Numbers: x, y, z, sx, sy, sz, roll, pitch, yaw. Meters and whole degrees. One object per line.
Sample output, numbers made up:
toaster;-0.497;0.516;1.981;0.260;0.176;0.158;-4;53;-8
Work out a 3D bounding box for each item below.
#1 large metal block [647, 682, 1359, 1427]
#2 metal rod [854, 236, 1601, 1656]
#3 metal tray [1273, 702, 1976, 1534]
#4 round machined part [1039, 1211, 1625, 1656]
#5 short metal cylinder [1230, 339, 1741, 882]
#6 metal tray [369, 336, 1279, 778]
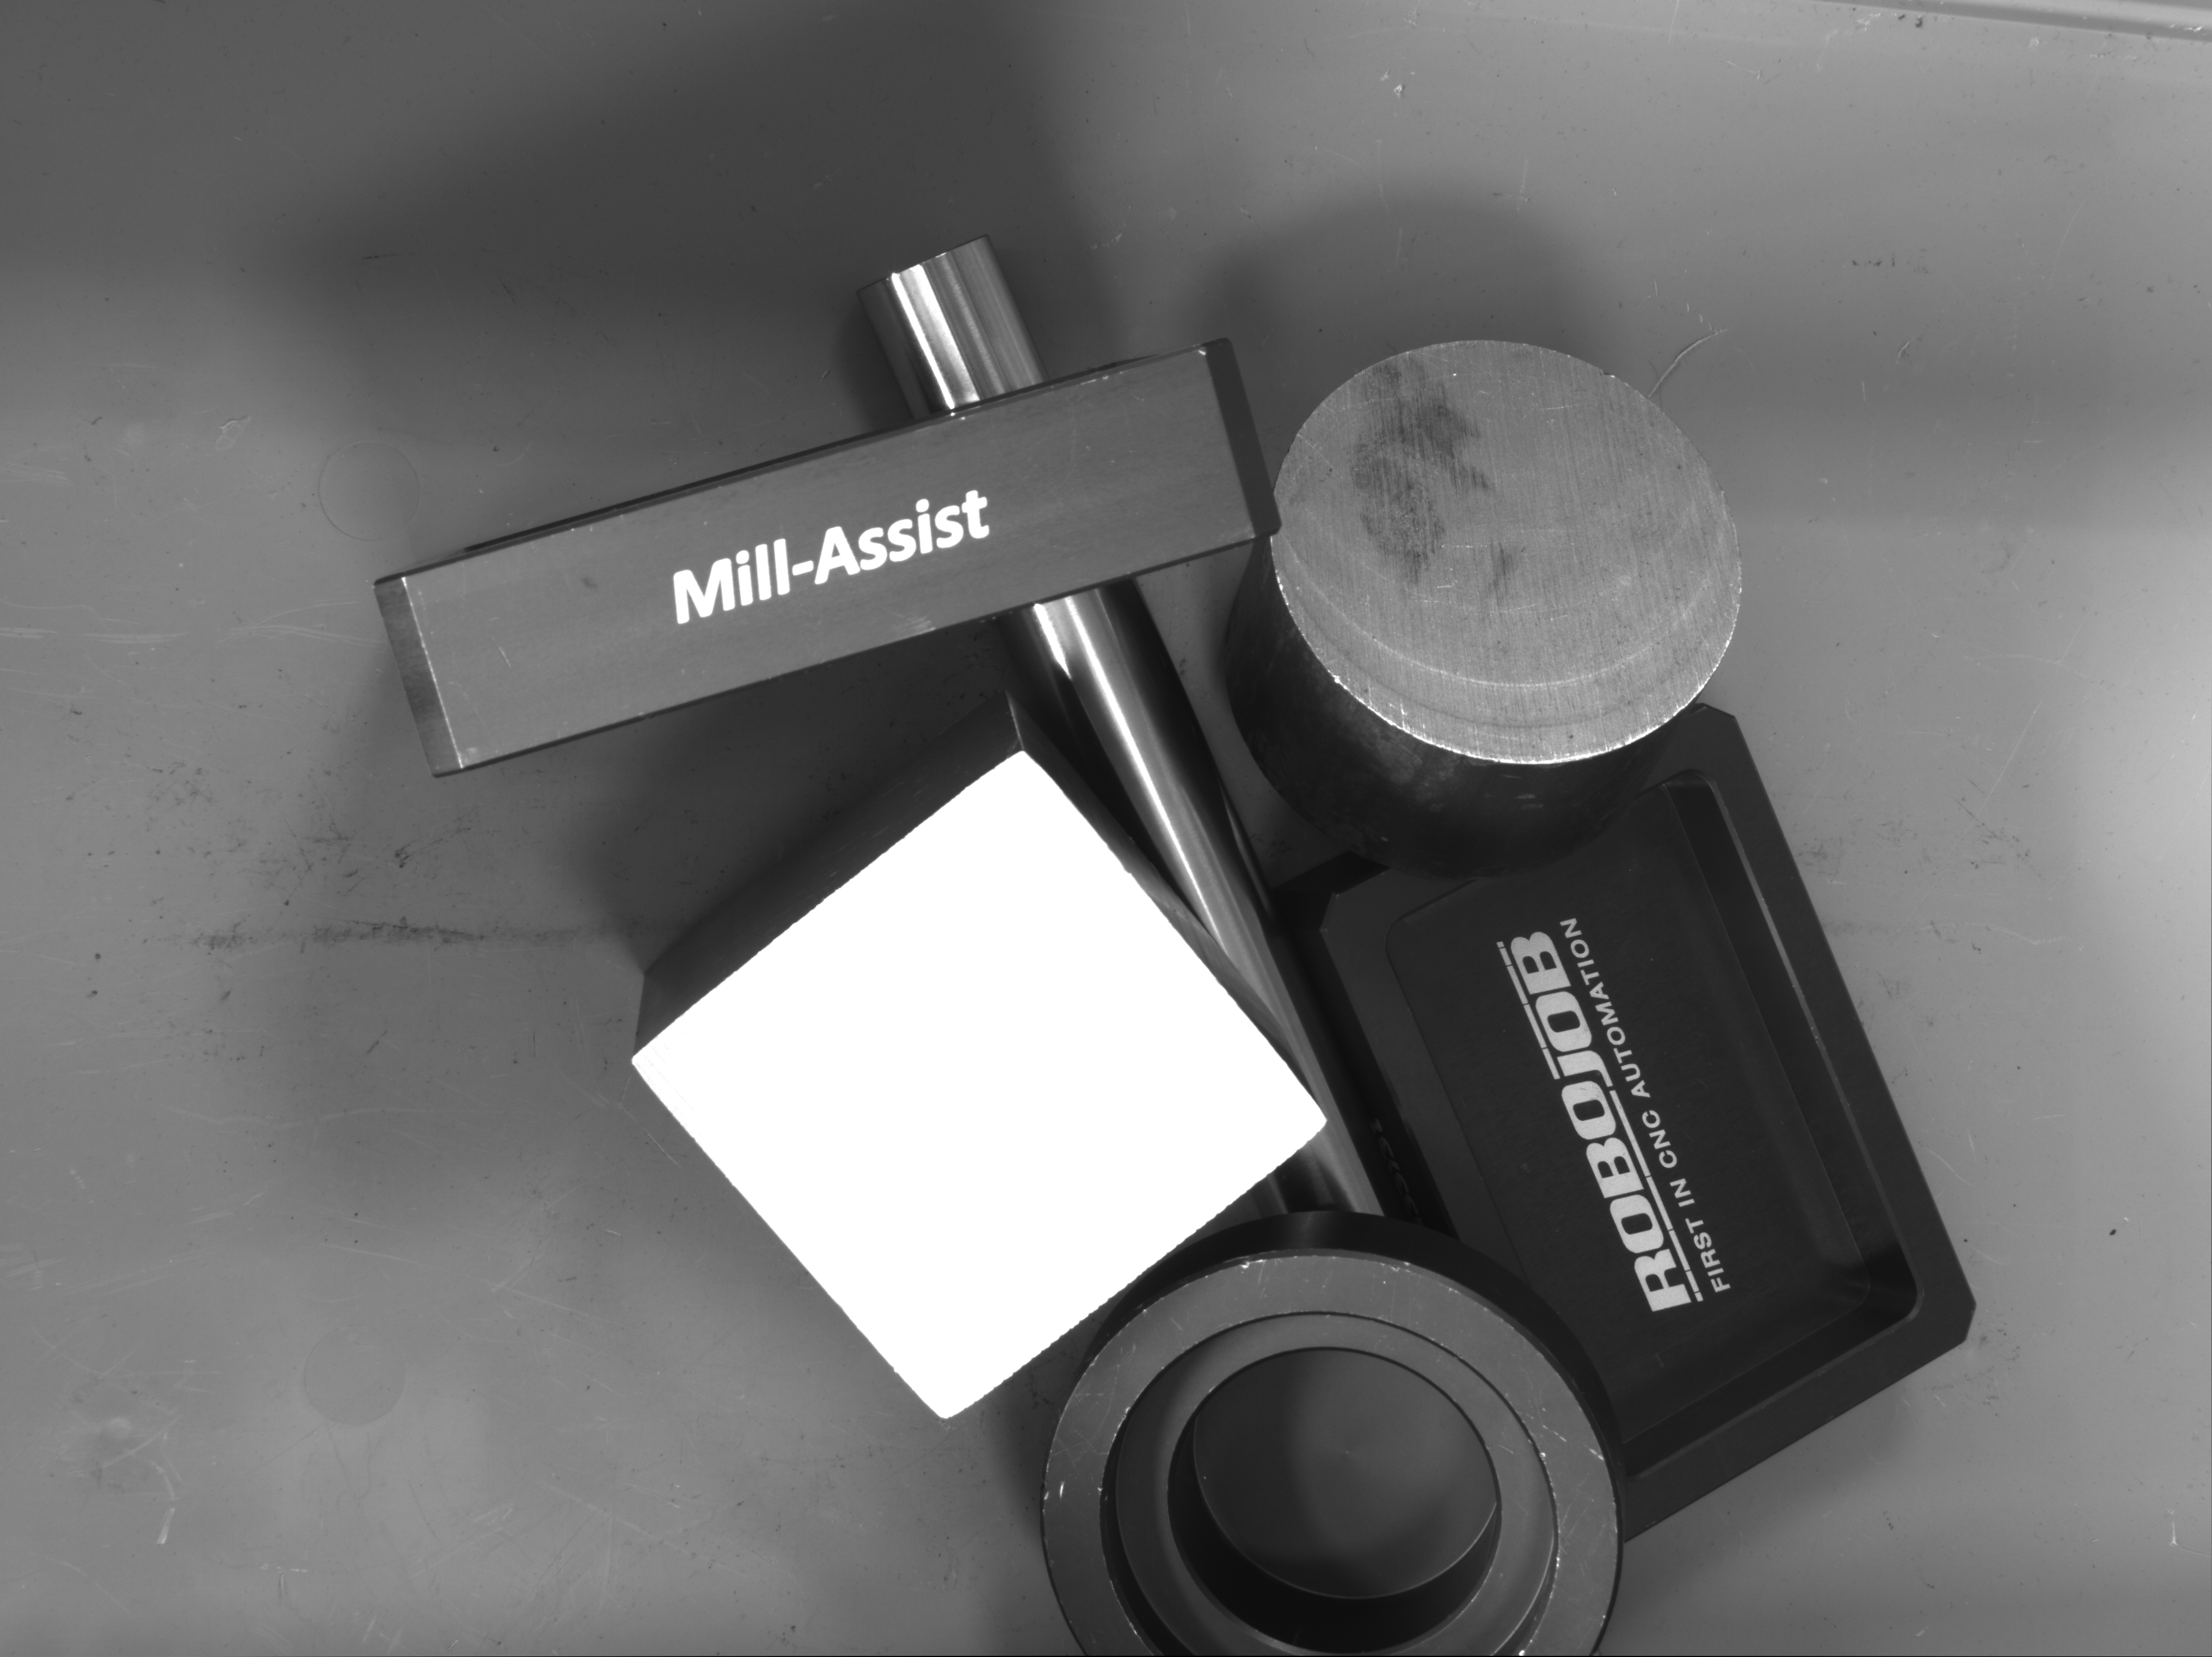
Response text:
large metal block;-0.018;0.036;0.603;0.080;0.050;0.080;-39;103;3
metal rod;0.028;0.039;0.652;0.025;0.025;0.300;-26;99;-18
metal tray;0.095;0.053;0.674;0.090;0.030;0.130;-26;99;-18
round machined part;0.040;0.112;0.632;0.098;0.042;0.098;2;103;9
short metal cylinder;0.064;-0.037;0.636;0.080;0.050;0.080;3;66;-6
metal tray;-0.045;-0.044;0.576;0.130;0.090;0.030;-17;97;-5
